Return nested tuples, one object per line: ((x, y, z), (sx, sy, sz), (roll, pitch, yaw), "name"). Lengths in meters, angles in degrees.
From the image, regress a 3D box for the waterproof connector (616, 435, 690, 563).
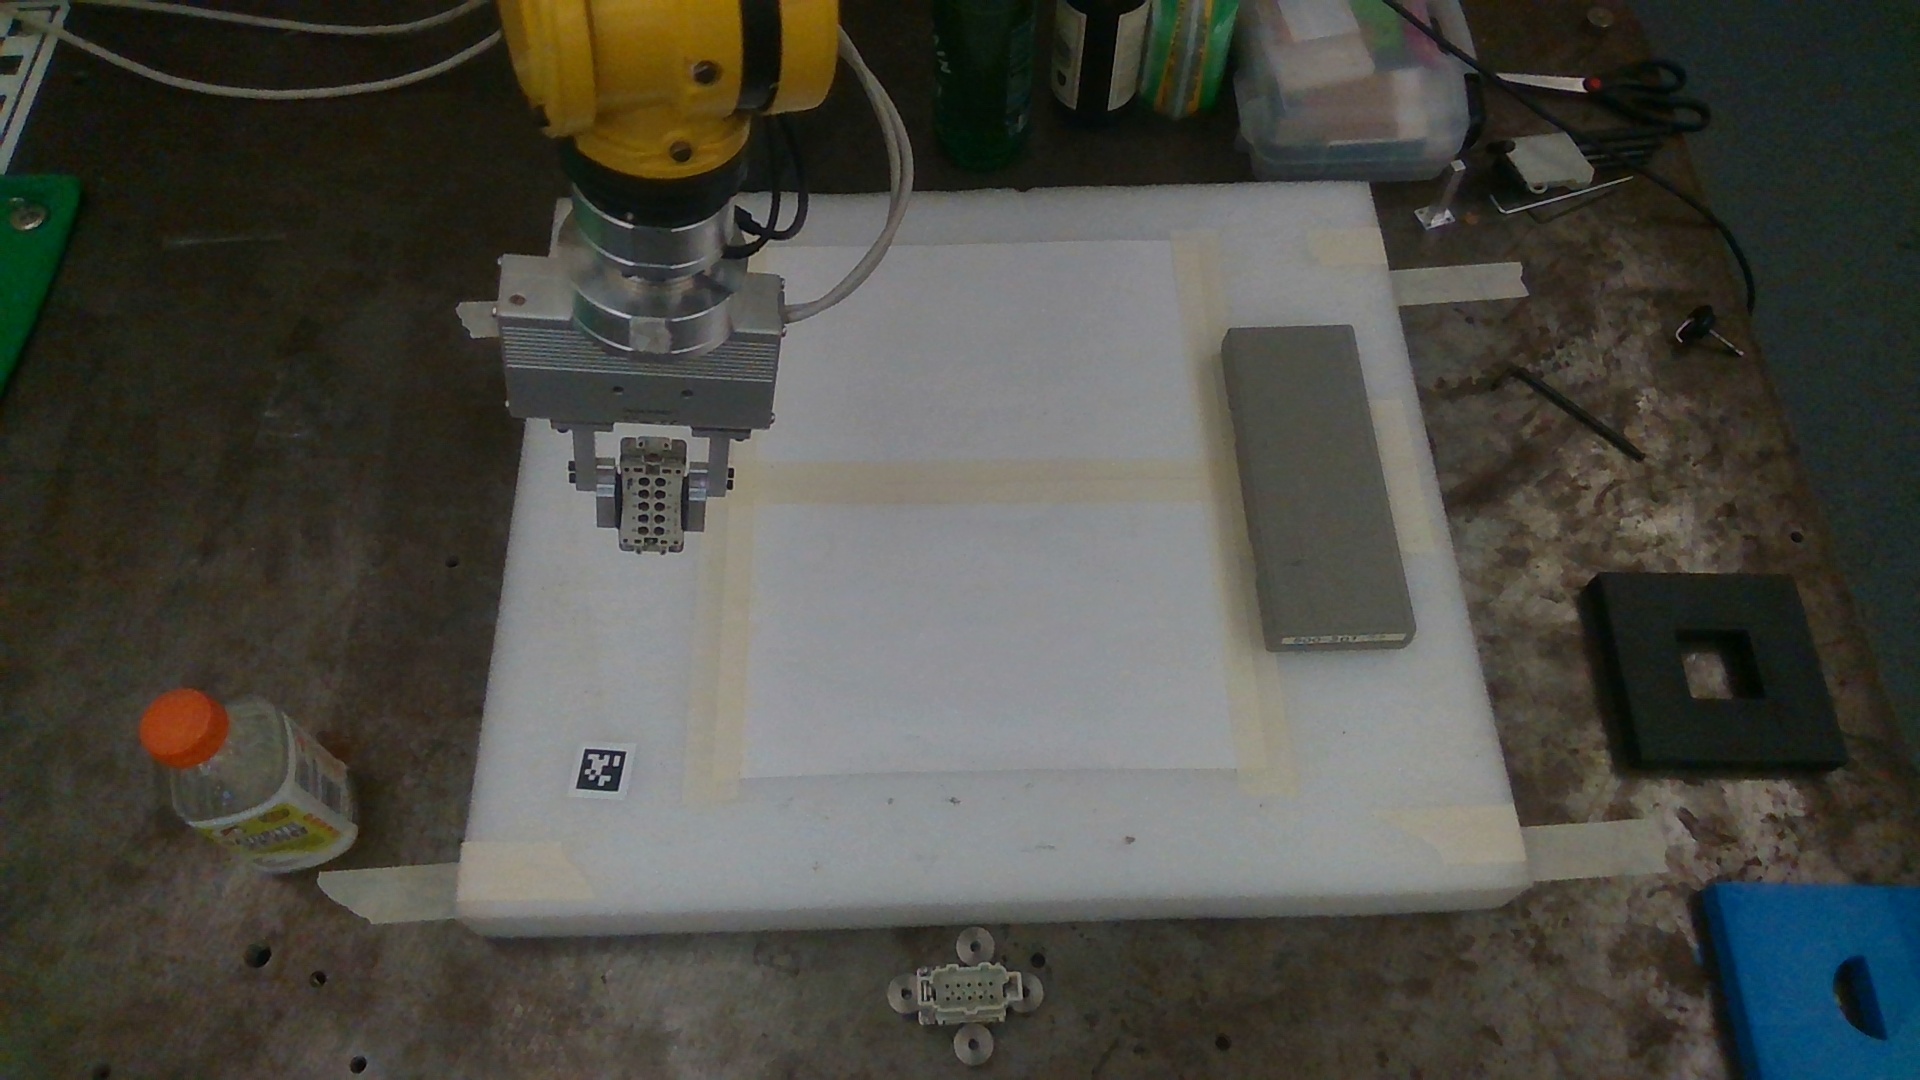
((-0.163, -0.021, 0.739), (0.037, 0.069, 0.038), (3, 21, -6), "waterproof connector")
